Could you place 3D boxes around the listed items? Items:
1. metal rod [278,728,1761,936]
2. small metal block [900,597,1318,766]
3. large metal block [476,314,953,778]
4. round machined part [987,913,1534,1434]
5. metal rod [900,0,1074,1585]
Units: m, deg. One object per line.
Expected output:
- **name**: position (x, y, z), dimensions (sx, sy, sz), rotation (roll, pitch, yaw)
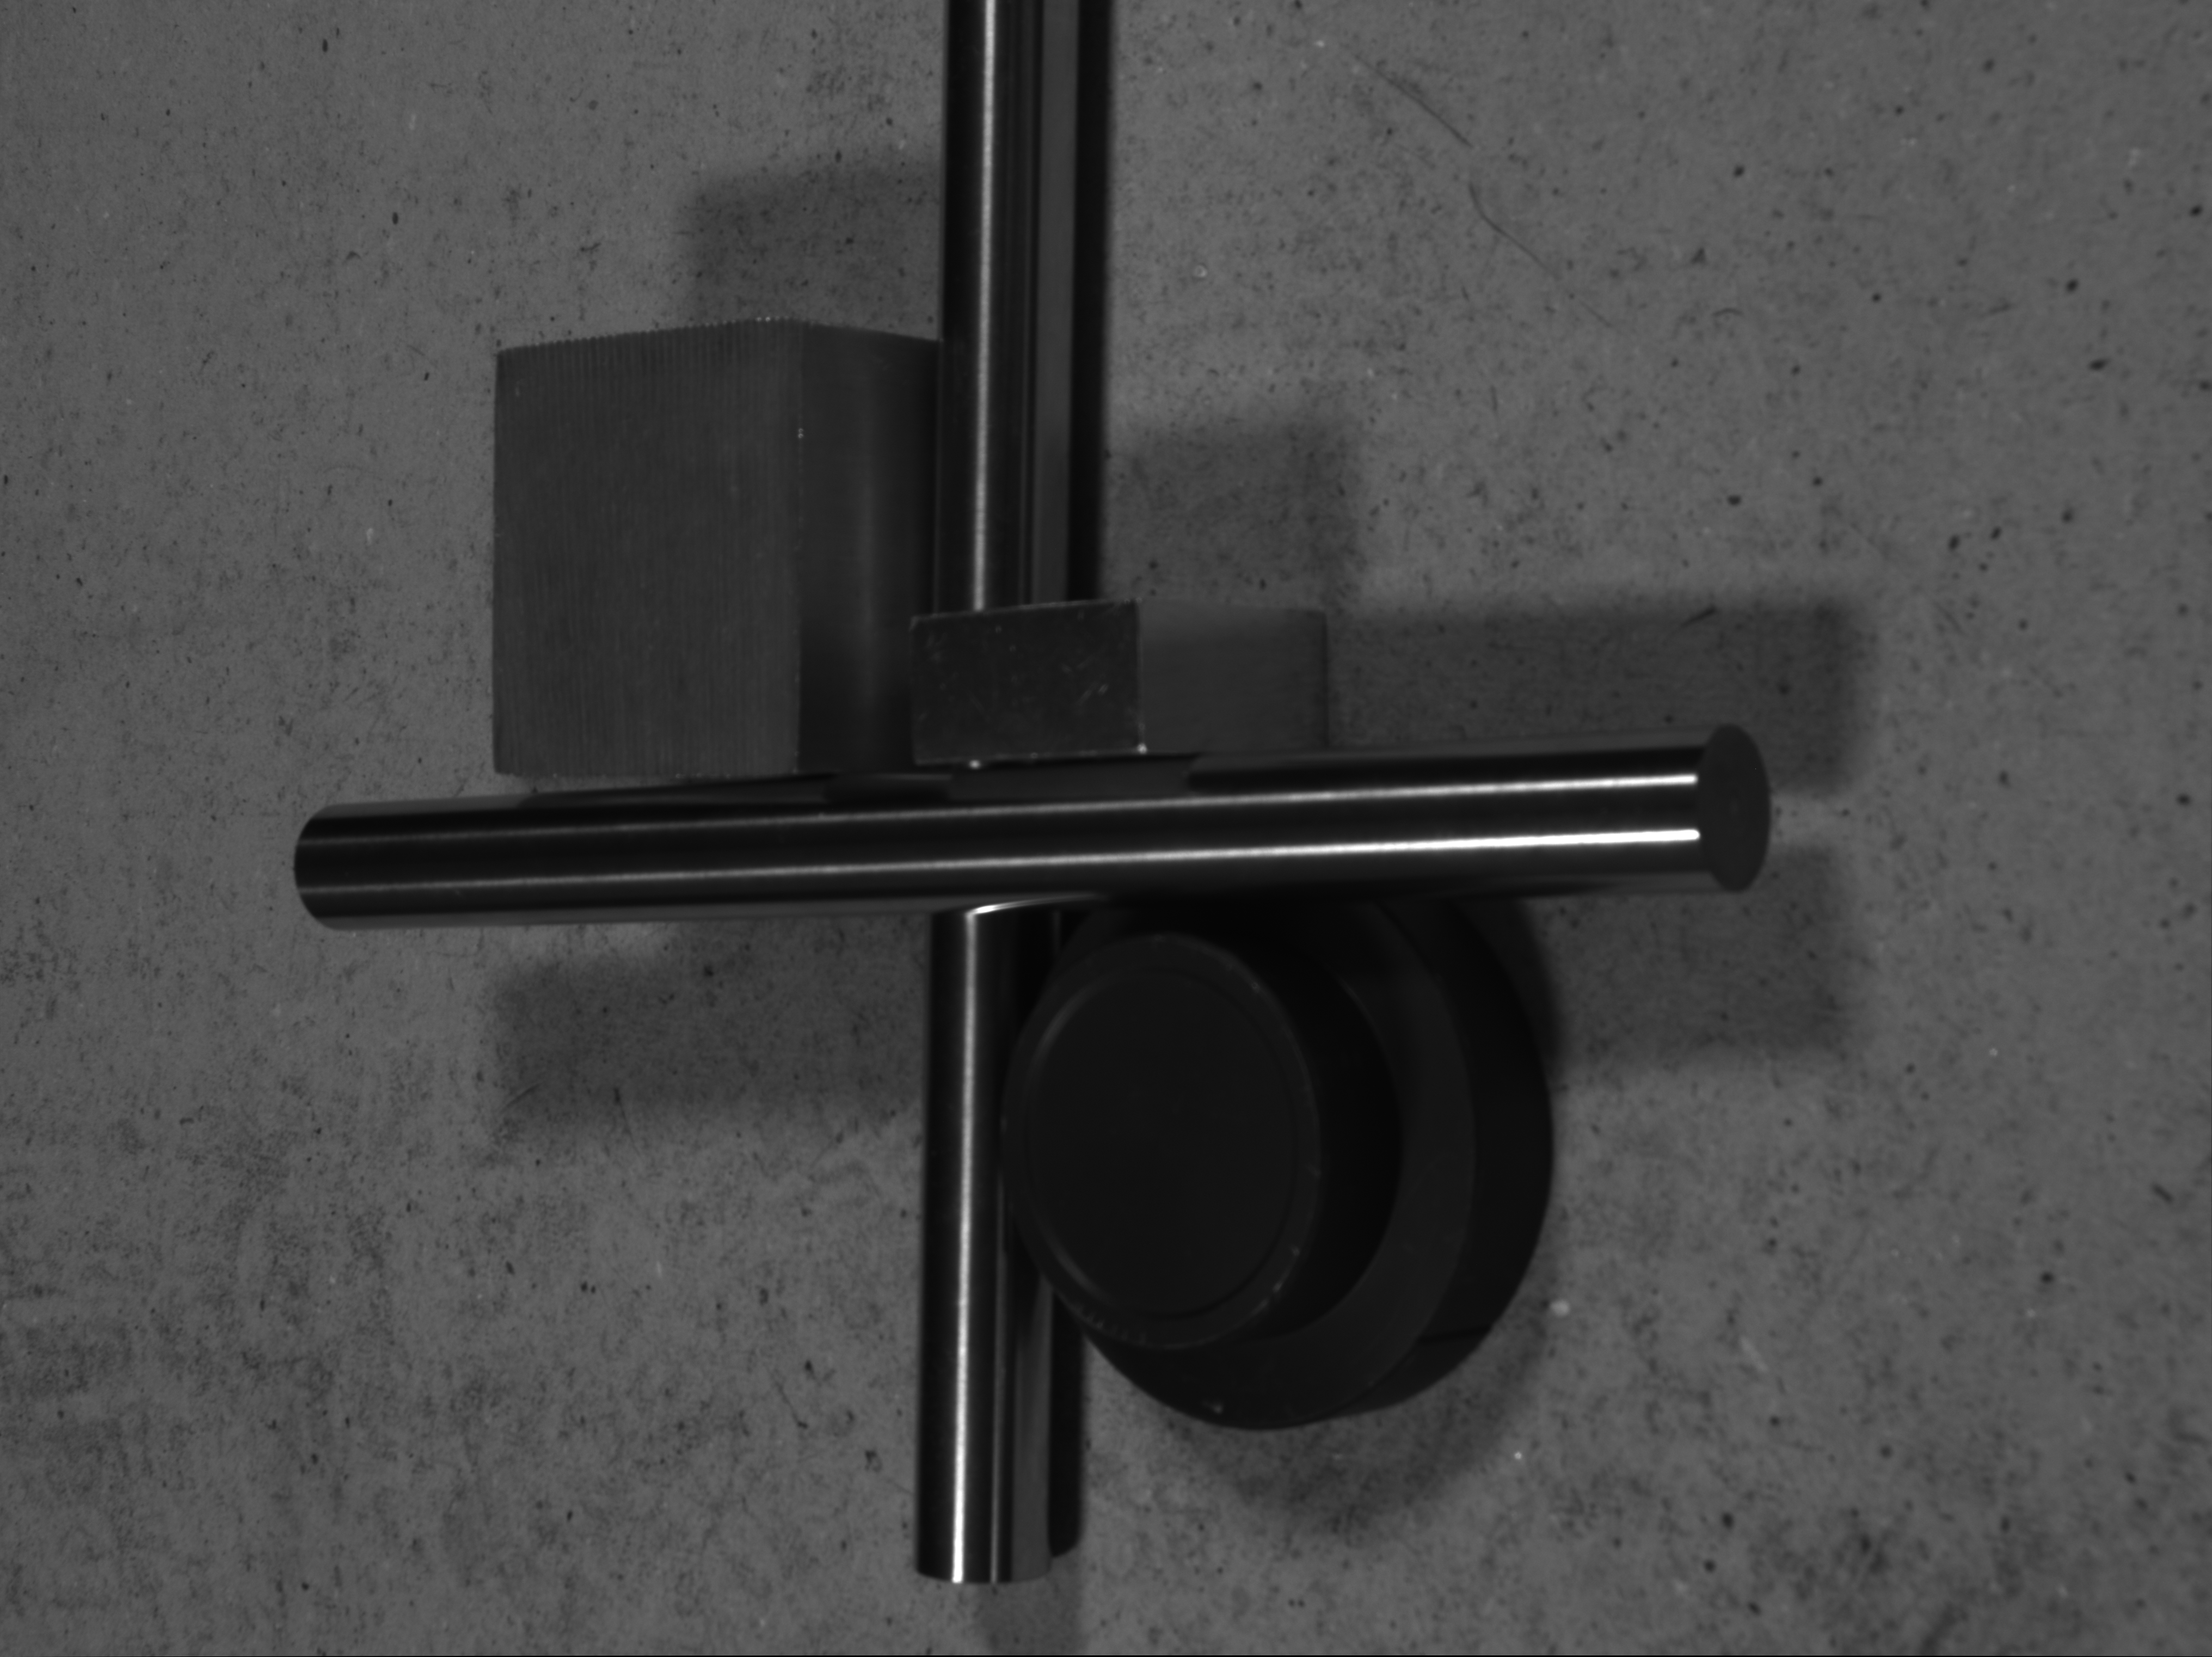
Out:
- **metal rod**: position (-0.030, 0.003, 0.629), dimensions (0.299, 0.025, 0.025), rotation (-3, 88, 35)
- **small metal block**: position (0.001, -0.024, 0.620), dimensions (0.050, 0.050, 0.025), rotation (-2, 89, 39)
- **large metal block**: position (-0.070, -0.049, 0.677), dimensions (0.080, 0.050, 0.080), rotation (1, 90, 39)
- **round machined part**: position (0.019, 0.051, 0.609), dimensions (0.098, 0.042, 0.098), rotation (0, 90, 39)
- **metal rod**: position (-0.021, -0.017, 0.654), dimensions (0.025, 0.025, 0.300), rotation (2, 91, 39)
